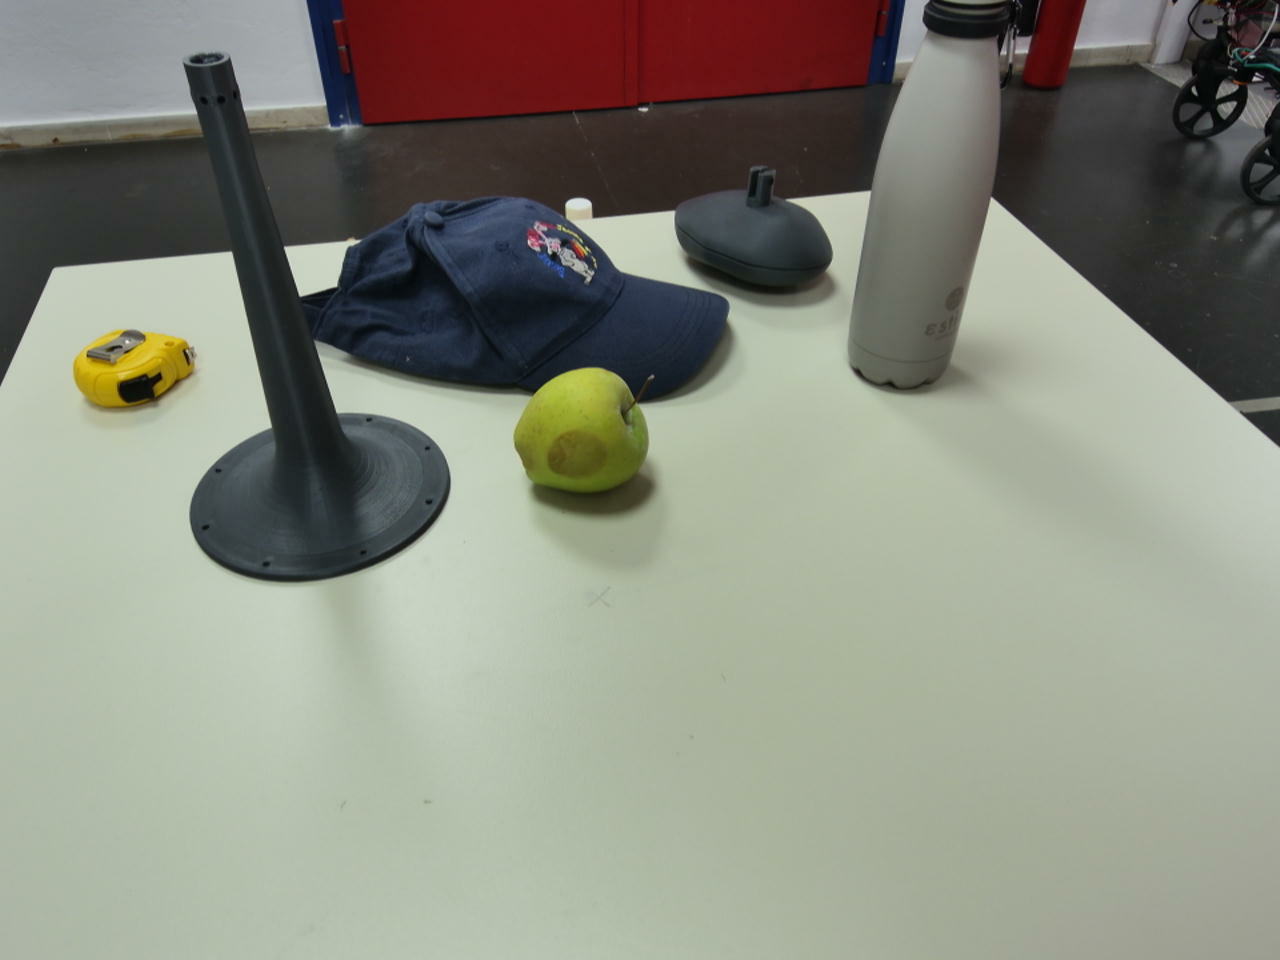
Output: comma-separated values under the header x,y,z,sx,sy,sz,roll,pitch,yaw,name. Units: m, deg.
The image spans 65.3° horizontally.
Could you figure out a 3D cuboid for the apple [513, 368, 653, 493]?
x,y,z,sx,sy,sz,roll,pitch,yaw,name
-0.033,-0.030,0.590,0.077,0.075,0.072,22,43,24,apple
